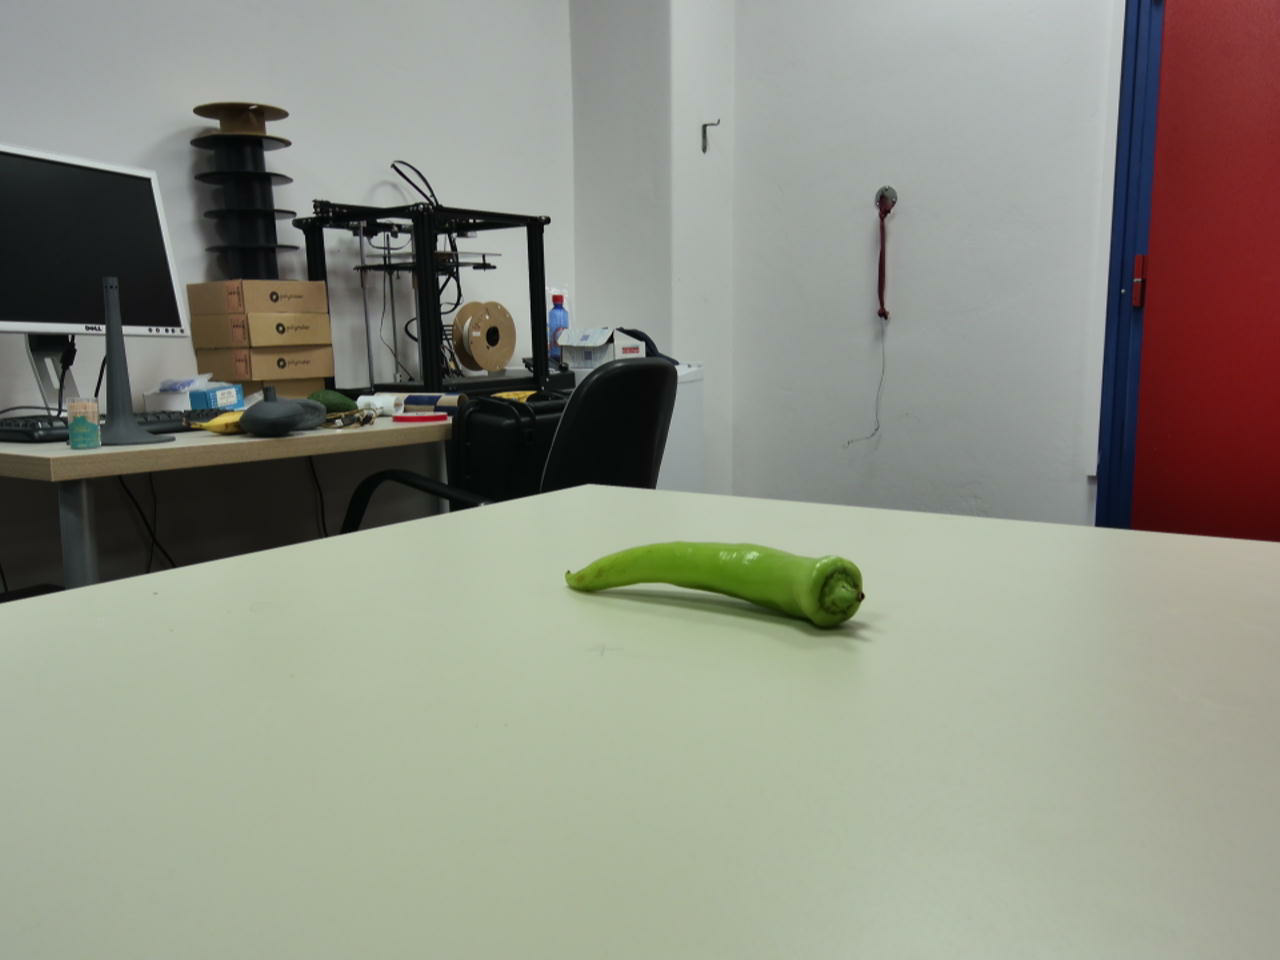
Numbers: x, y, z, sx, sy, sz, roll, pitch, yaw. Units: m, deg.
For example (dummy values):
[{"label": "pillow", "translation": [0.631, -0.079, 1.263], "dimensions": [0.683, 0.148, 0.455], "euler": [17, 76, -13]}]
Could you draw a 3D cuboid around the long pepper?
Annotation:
[{"label": "long pepper", "translation": [0.040, 0.052, 0.555], "dimensions": [0.197, 0.038, 0.046], "euler": [5, 7, 38]}]
